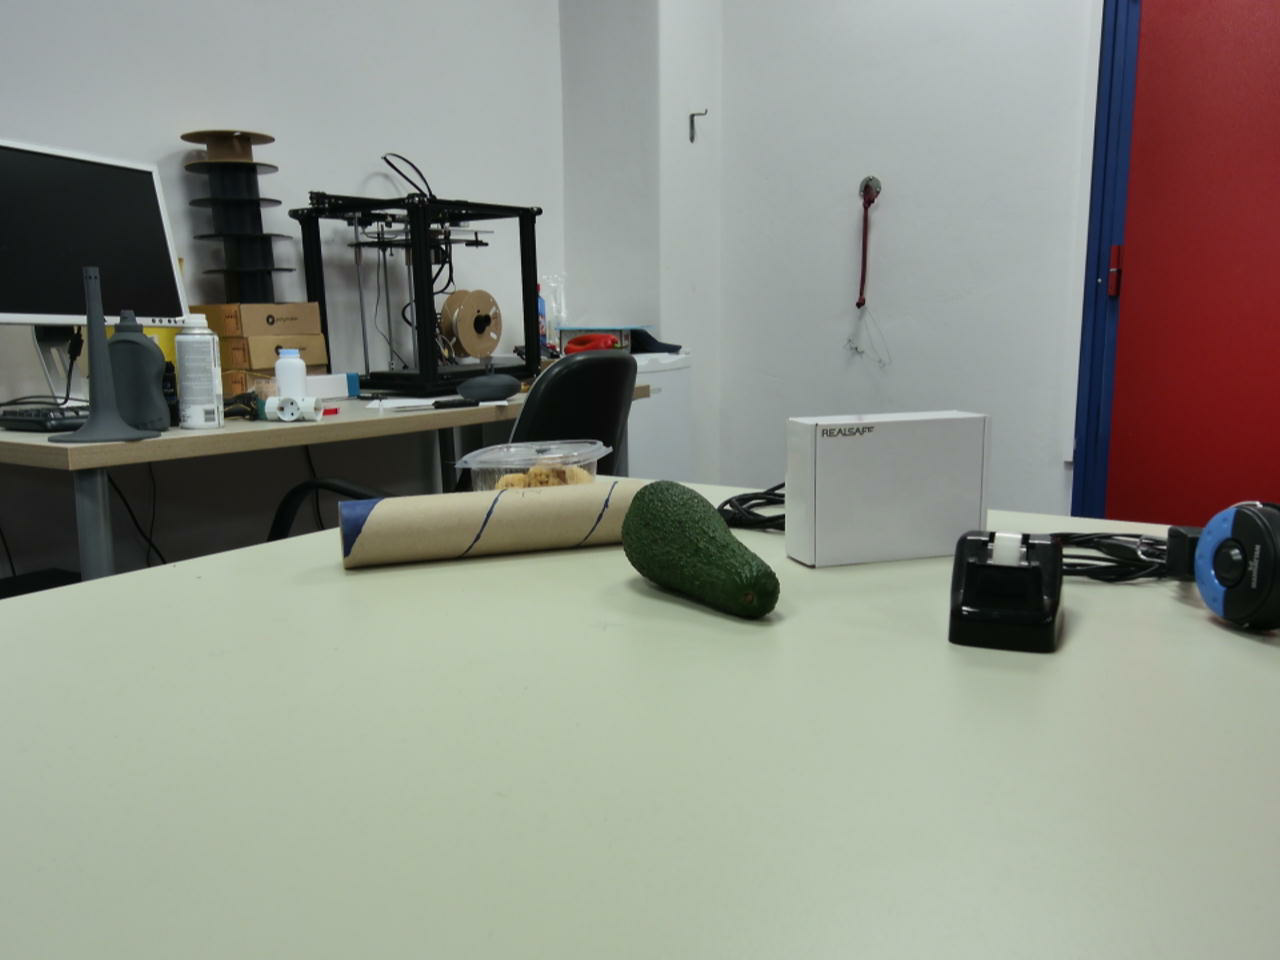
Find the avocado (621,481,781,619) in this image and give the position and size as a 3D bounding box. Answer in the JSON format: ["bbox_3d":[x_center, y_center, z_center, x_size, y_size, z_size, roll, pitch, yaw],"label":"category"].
[{"bbox_3d":[0.040,0.038,0.603,0.063,0.067,0.141,-5,9,-39],"label":"avocado"}]
